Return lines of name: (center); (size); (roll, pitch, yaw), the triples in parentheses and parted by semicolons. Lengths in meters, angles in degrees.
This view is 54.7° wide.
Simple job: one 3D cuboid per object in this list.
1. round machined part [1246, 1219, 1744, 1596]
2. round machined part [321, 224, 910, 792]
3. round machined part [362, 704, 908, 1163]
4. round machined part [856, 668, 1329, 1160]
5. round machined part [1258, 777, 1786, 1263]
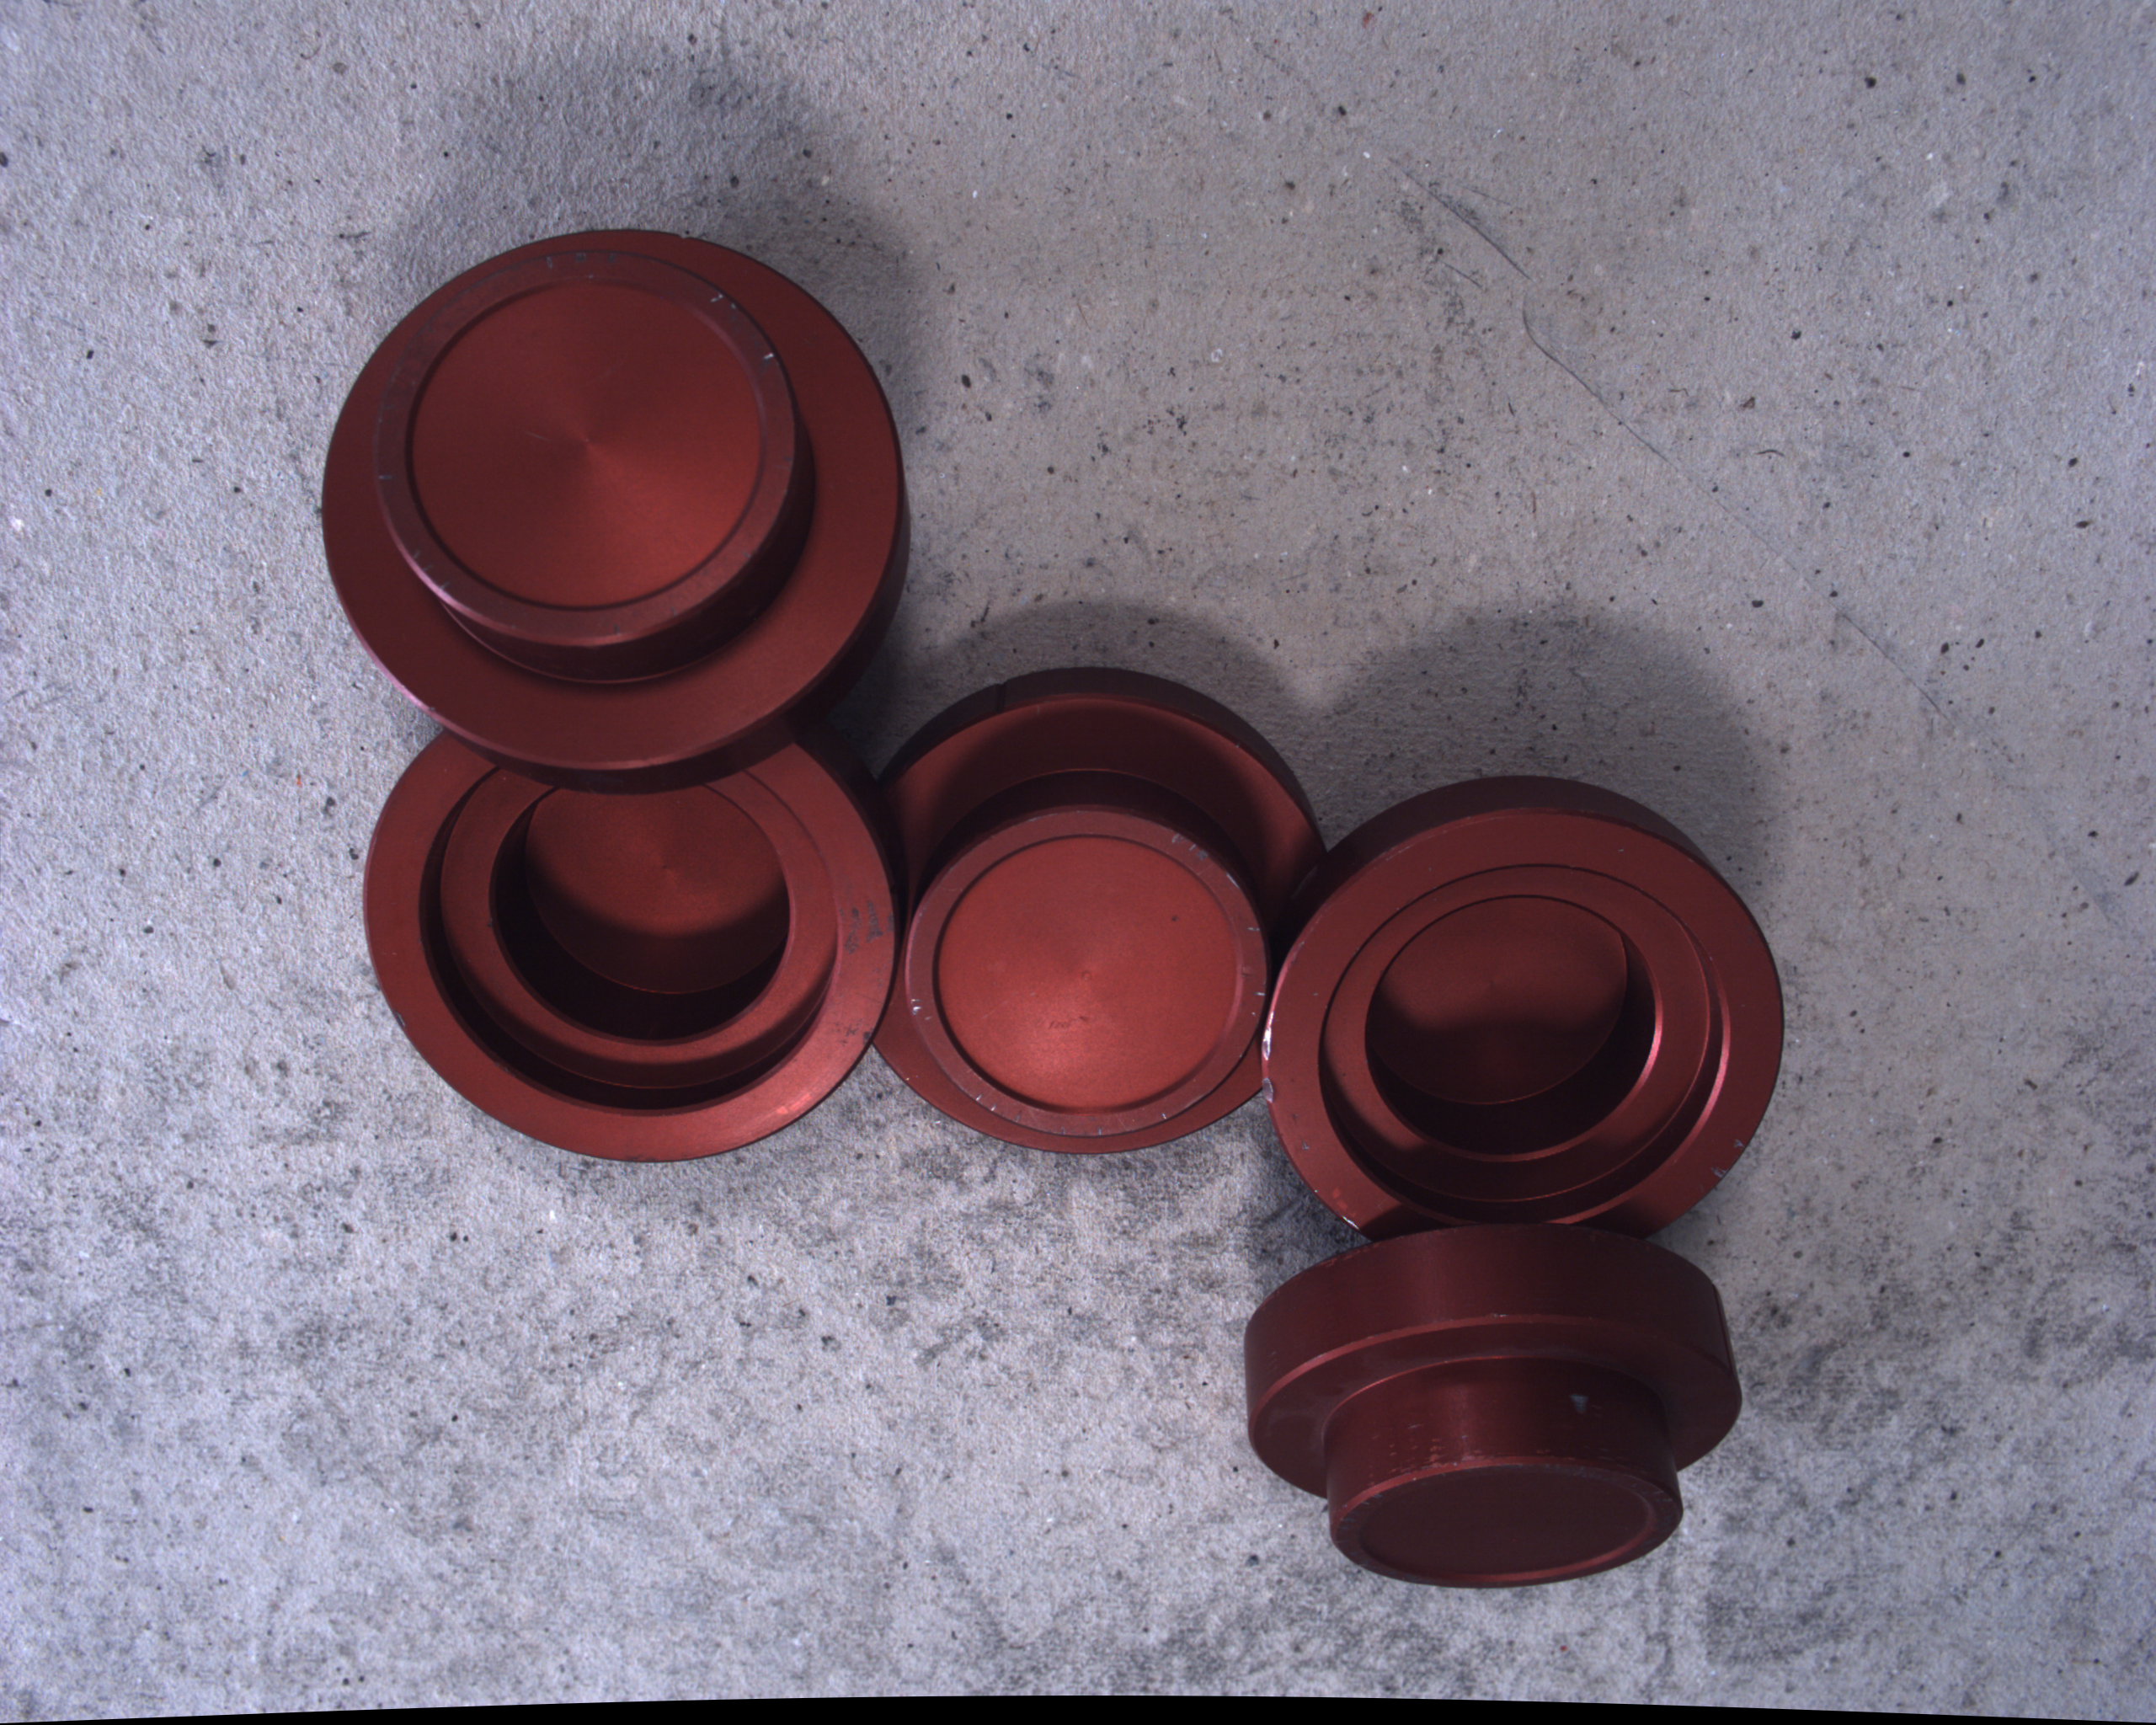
round machined part: (0.084, 0.115, 0.421); (0.099, 0.042, 0.097); (0, 140, 0)
round machined part: (-0.079, -0.064, 0.354); (0.099, 0.042, 0.098); (0, 79, -1)
round machined part: (-0.082, 0.005, 0.403); (0.099, 0.042, 0.097); (0, 111, 0)
round machined part: (0.002, 0.014, 0.406); (0.099, 0.042, 0.097); (0, 108, 1)
round machined part: (0.084, 0.029, 0.413); (0.099, 0.042, 0.097); (0, 111, 0)
